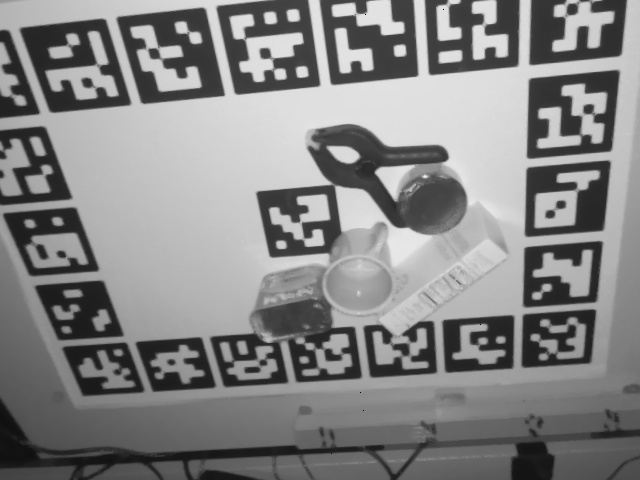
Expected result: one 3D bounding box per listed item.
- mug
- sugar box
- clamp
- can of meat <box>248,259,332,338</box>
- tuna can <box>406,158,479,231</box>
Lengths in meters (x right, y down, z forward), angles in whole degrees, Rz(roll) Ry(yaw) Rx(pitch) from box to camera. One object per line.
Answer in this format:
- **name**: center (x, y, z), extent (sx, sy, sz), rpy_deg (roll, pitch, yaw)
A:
- **mug**: center (0.059, 0.026, 0.857), extent (0.093, 0.082, 0.116), rpy_deg (18, 117, -5)
- **sugar box**: center (0.152, 0.031, 0.858), extent (0.174, 0.094, 0.045), rpy_deg (-40, 111, 23)
- **clamp**: center (0.063, -0.101, 0.823), extent (0.165, 0.037, 0.120), rpy_deg (28, 121, -7)
- **can of meat**: center (-0.034, 0.073, 0.897), extent (0.101, 0.084, 0.057), rpy_deg (-11, 119, 11)
- **tuna can**: center (0.146, -0.056, 0.837), extent (0.086, 0.034, 0.085), rpy_deg (1, 117, 3)
